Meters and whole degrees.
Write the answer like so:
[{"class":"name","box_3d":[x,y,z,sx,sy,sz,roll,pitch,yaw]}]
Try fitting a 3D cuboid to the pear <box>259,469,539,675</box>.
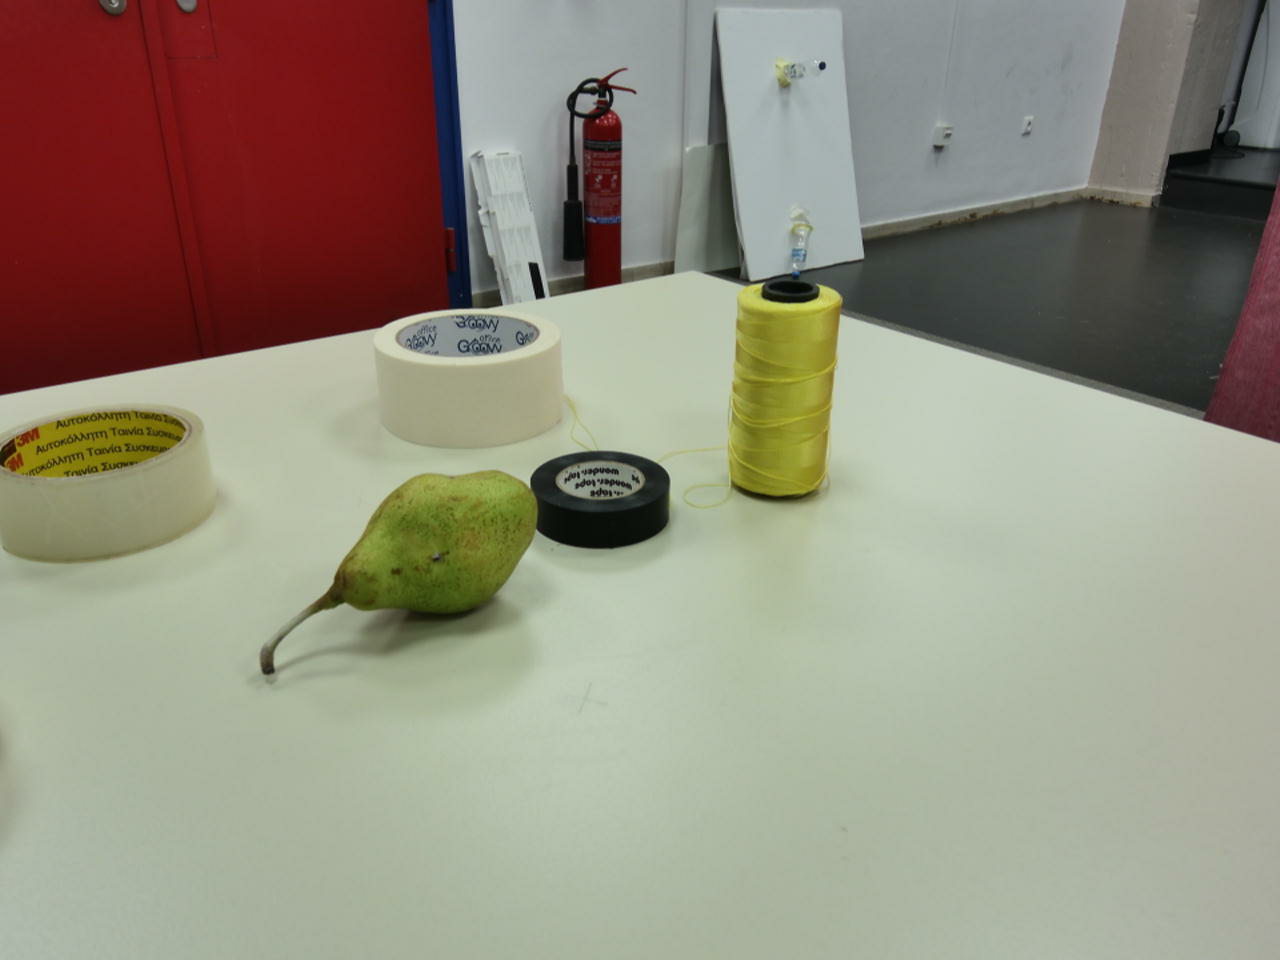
[{"class":"pear","box_3d":[-0.093,0.028,0.384,0.111,0.056,0.056,-10,25,-22]}]
